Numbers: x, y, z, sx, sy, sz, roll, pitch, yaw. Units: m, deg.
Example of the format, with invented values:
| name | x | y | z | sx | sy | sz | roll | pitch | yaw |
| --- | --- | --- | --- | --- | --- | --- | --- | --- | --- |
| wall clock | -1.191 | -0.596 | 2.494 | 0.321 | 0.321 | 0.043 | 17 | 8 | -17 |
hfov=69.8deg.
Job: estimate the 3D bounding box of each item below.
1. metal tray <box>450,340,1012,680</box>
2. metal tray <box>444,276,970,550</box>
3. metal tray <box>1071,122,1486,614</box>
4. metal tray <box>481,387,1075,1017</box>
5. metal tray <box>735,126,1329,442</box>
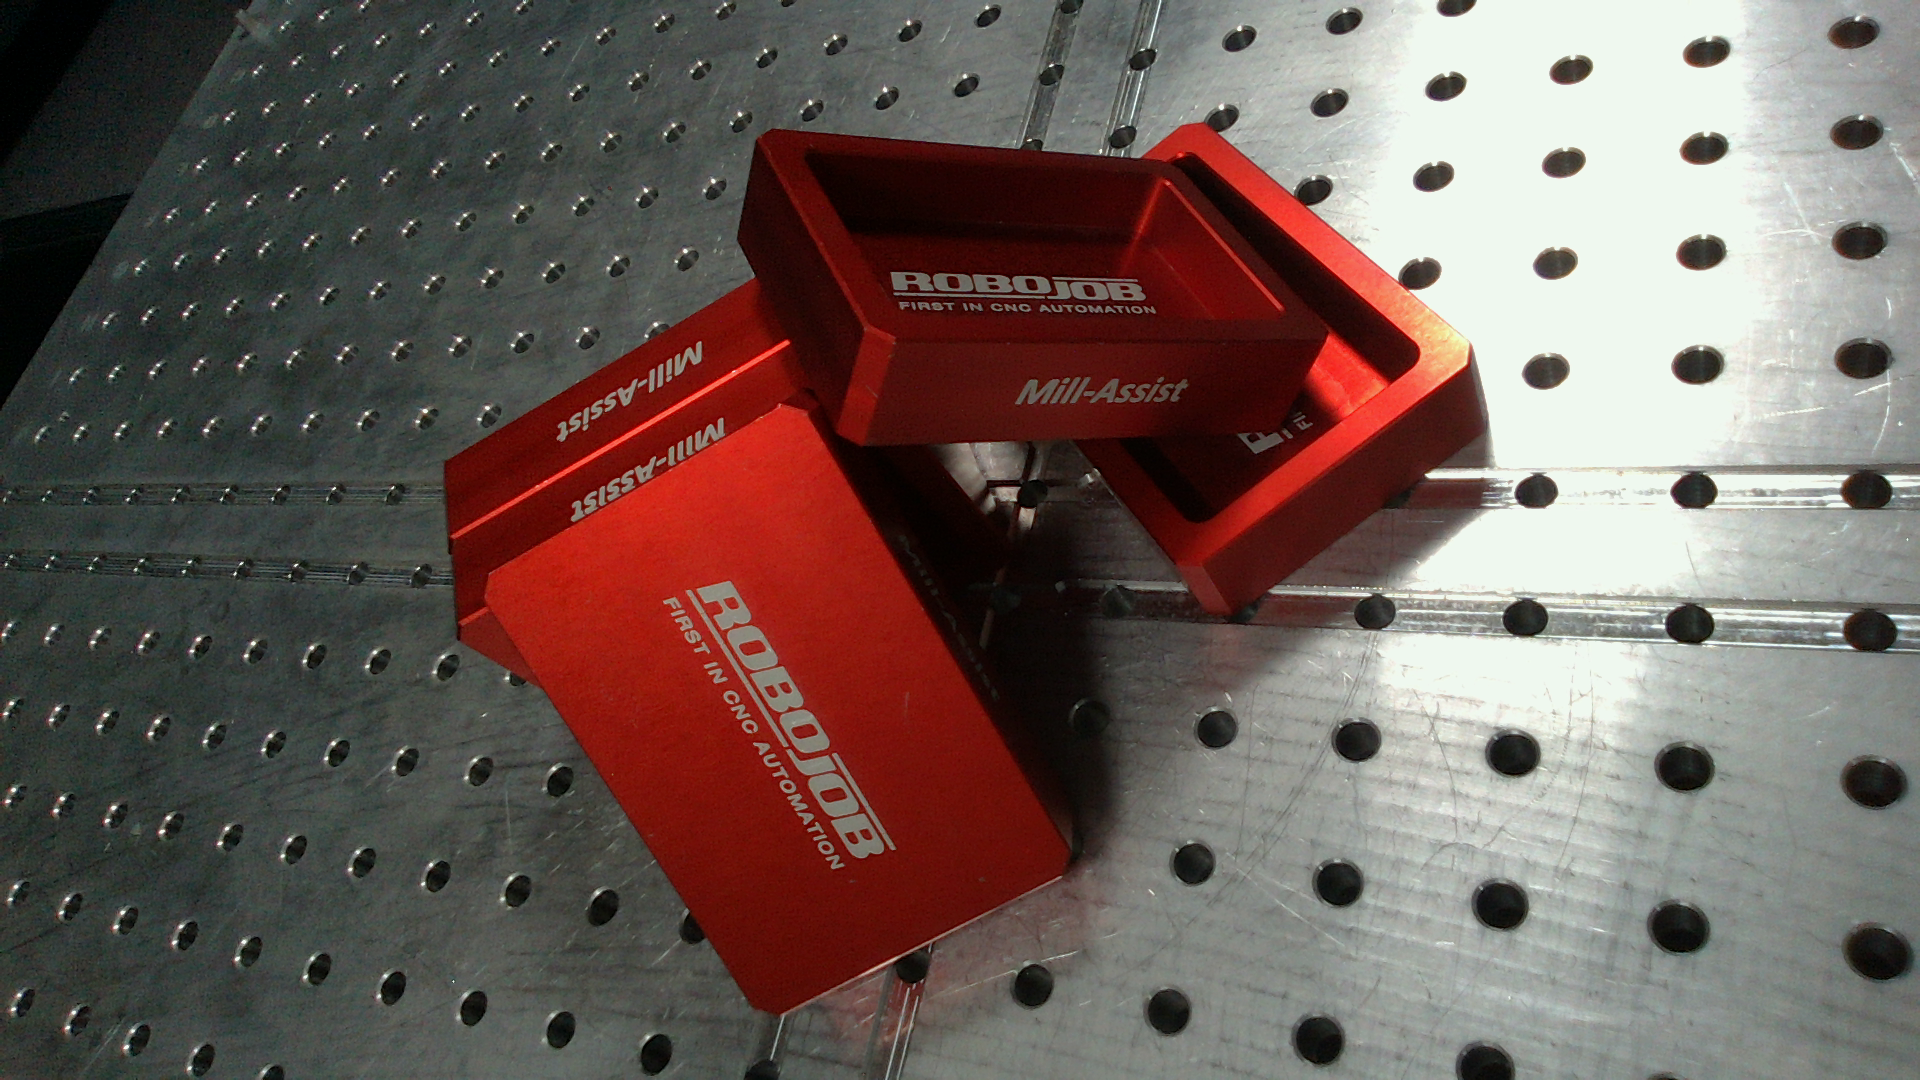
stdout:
| name | x | y | z | sx | sy | sz | roll | pitch | yaw |
| --- | --- | --- | --- | --- | --- | --- | --- | --- | --- |
| metal tray | -0.062 | 0.003 | 0.384 | 0.130 | 0.090 | 0.030 | -29 | 52 | 10 |
| metal tray | -0.071 | -0.019 | 0.404 | 0.130 | 0.090 | 0.030 | -29 | 52 | 10 |
| metal tray | 0.069 | -0.053 | 0.387 | 0.090 | 0.030 | 0.130 | -37 | 51 | 3 |
| metal tray | -0.041 | 0.040 | 0.334 | 0.090 | 0.130 | 0.030 | -29 | 10 | 10 |
| metal tray | 0.018 | -0.067 | 0.355 | 0.130 | 0.030 | 0.090 | -4 | 45 | -28 |
